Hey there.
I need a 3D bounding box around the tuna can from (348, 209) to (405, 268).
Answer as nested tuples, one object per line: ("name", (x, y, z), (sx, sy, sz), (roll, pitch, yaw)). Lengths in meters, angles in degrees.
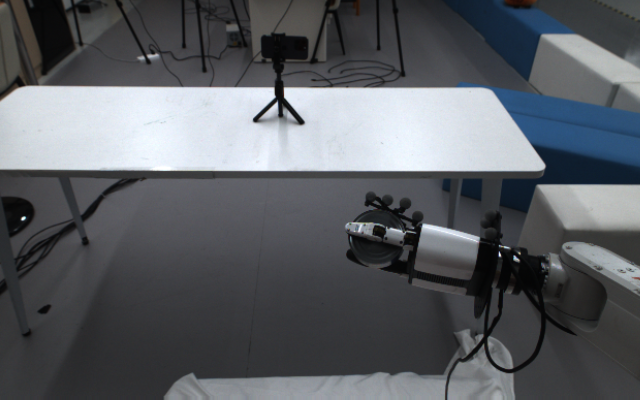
("tuna can", (0.088, 0.058, 0.736), (0.085, 0.034, 0.085), (-4, 66, 10))
